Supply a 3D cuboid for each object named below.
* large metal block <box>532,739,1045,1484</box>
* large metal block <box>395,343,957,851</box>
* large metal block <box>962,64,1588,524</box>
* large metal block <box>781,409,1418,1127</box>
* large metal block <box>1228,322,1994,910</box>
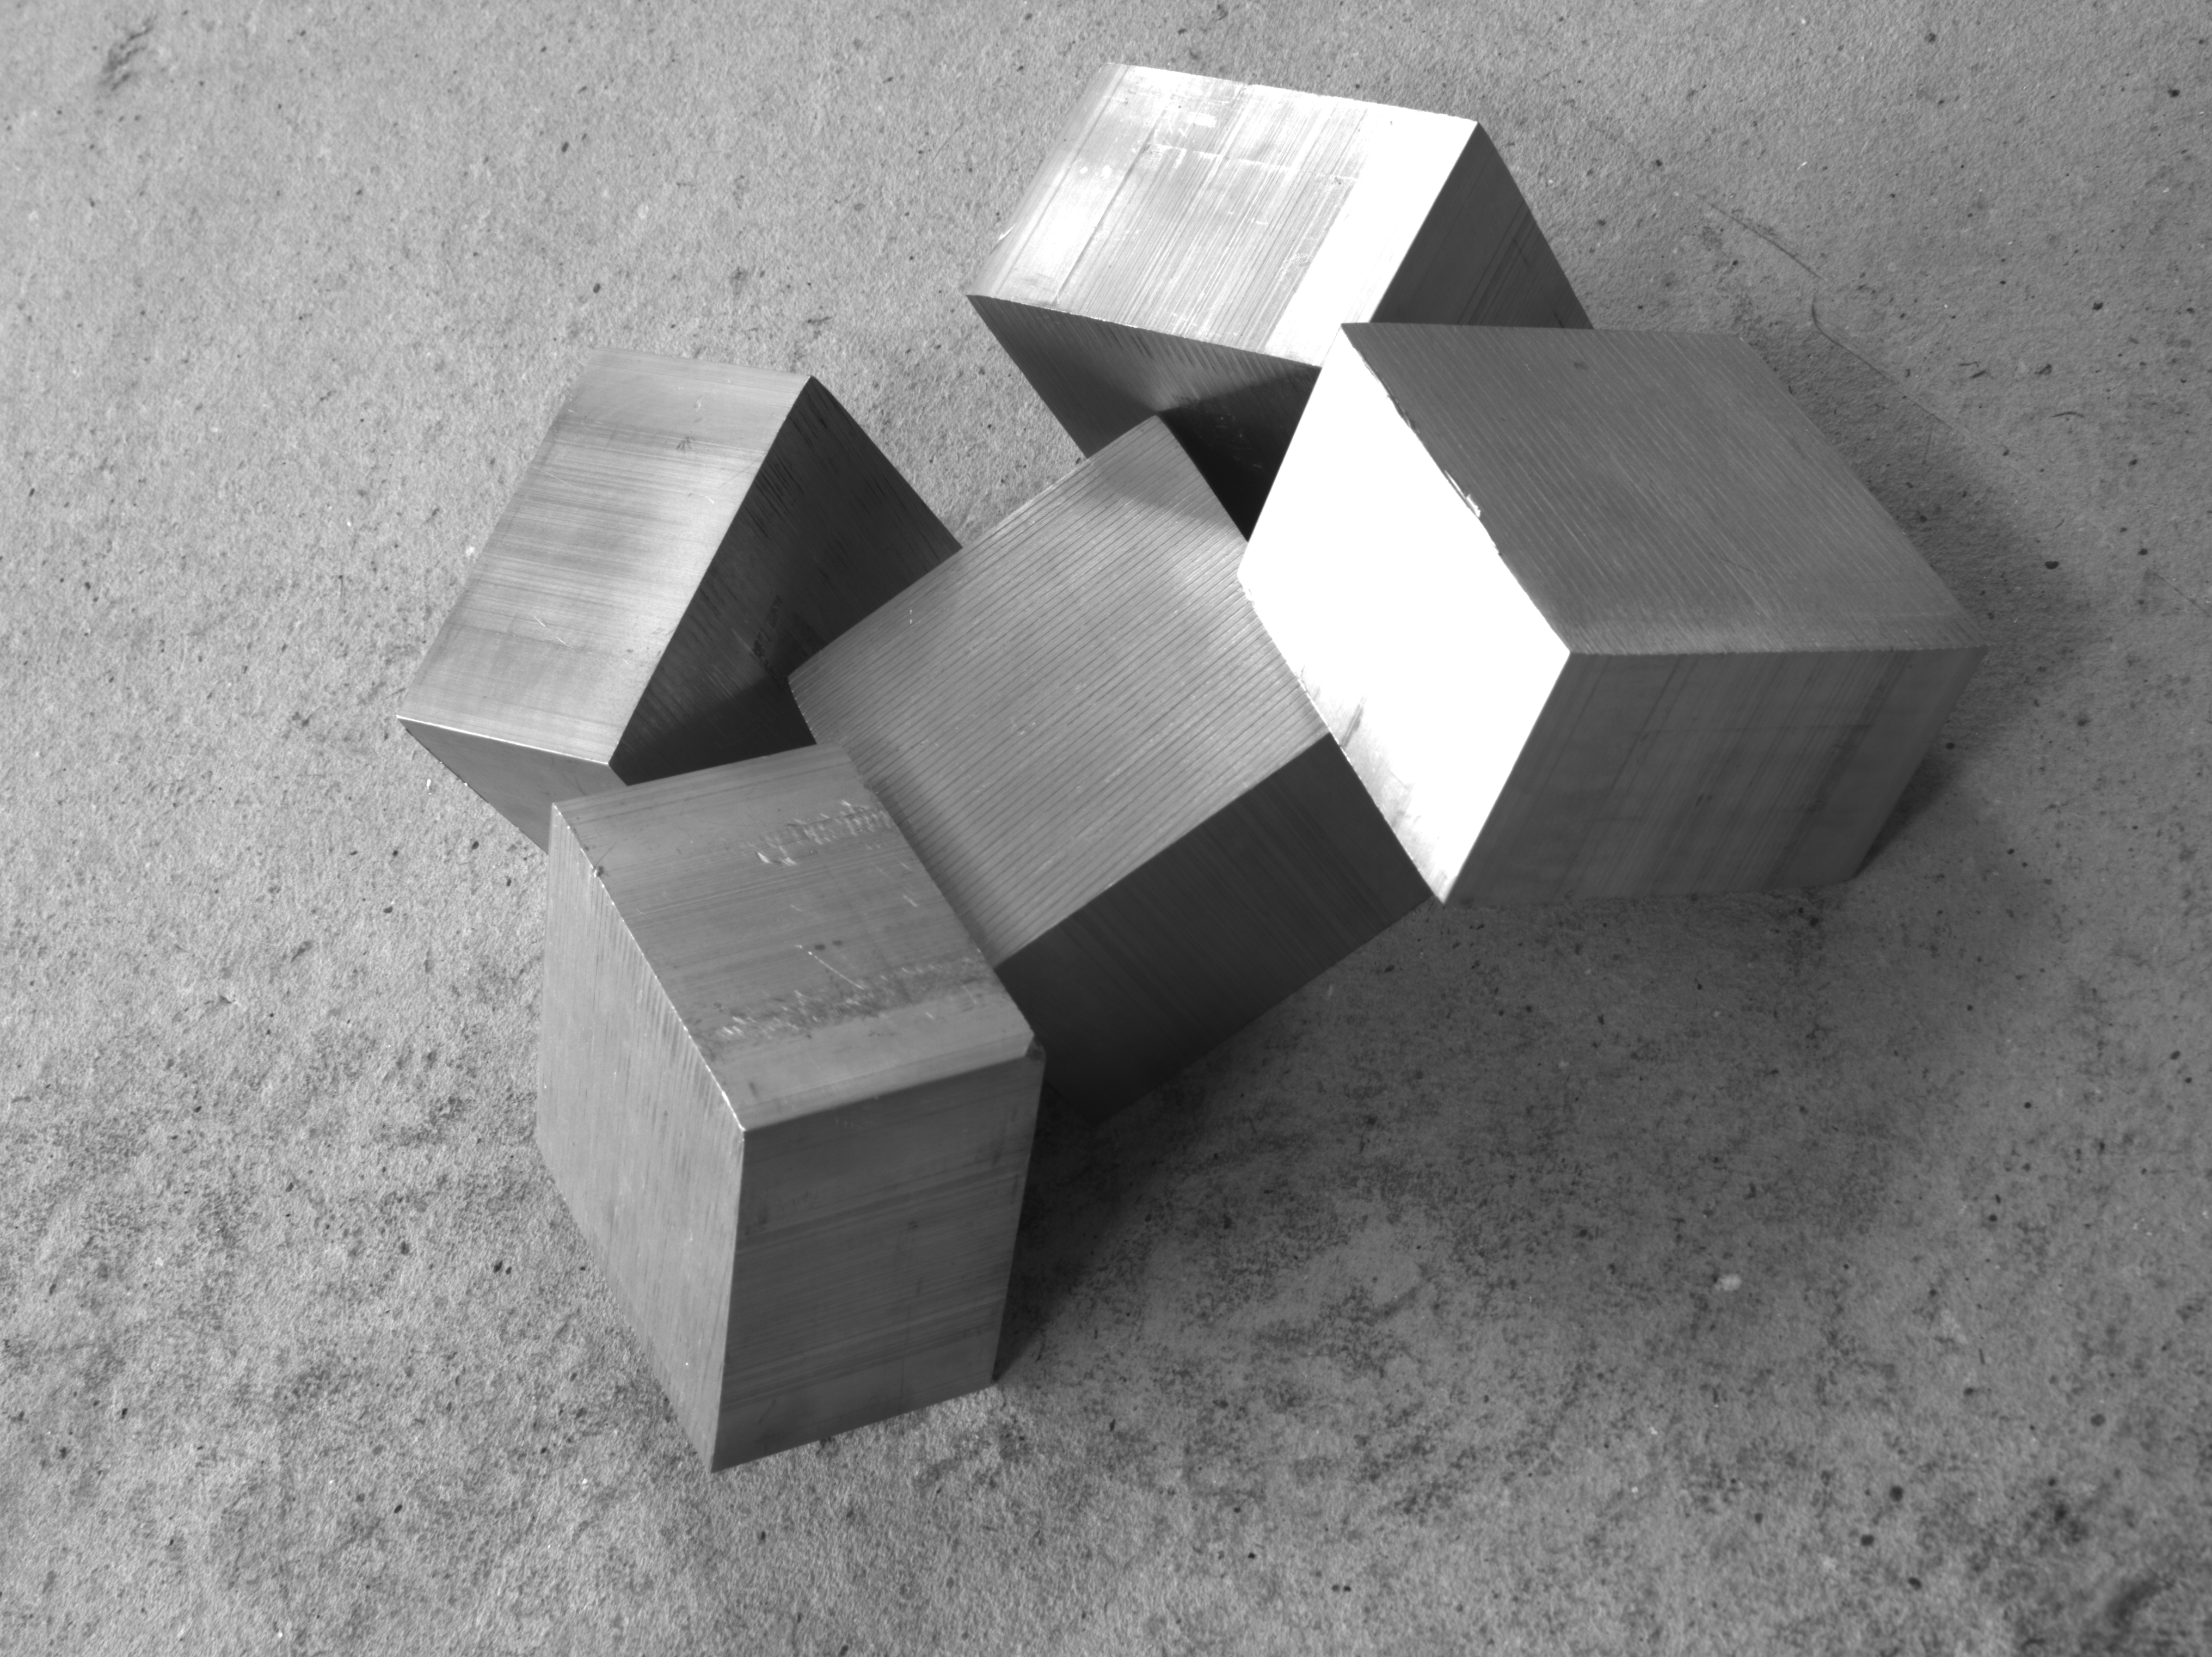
[{"bbox_3d":[-0.055,0.045,0.604,0.050,0.080,0.080,-13,45,-25],"label":"large metal block"},{"bbox_3d":[-0.070,-0.029,0.667,0.050,0.080,0.080,13,69,33],"label":"large metal block"},{"bbox_3d":[0.035,-0.083,0.643,0.080,0.080,0.050,17,70,35],"label":"large metal block"},{"bbox_3d":[0.003,-0.010,0.632,0.080,0.050,0.080,-35,52,5],"label":"large metal block"},{"bbox_3d":[0.078,-0.035,0.582,0.080,0.080,0.050,61,142,39],"label":"large metal block"}]
